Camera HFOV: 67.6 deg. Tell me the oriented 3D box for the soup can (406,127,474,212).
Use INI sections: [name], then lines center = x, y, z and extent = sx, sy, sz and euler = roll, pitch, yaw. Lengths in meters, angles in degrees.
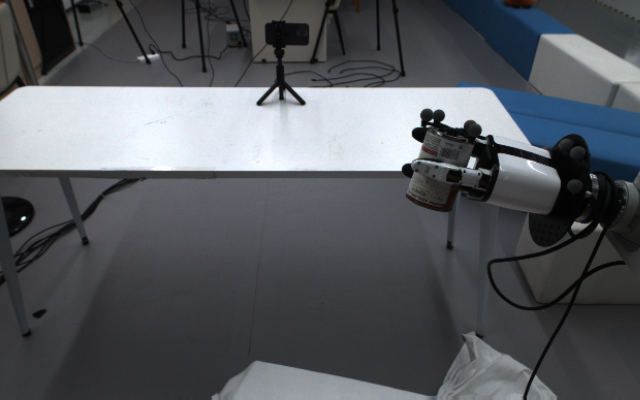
[soup can]
center = 0.167, -0.043, 0.670
extent = 0.067, 0.101, 0.067
euler = 13, 18, -4
